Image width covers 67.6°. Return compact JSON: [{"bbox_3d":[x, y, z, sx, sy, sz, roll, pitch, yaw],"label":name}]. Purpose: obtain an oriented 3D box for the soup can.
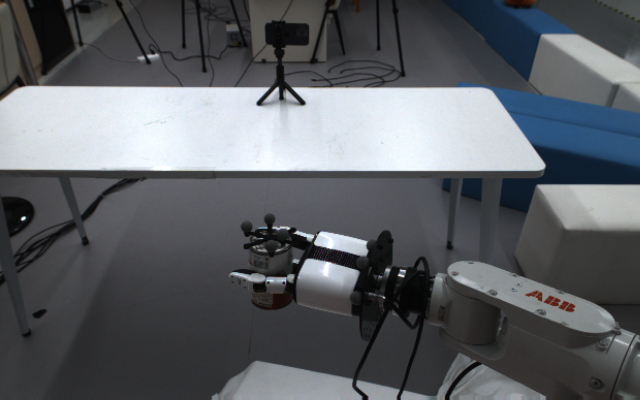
[{"bbox_3d":[-0.073,0.108,0.734,0.067,0.101,0.067,1,25,0],"label":"soup can"}]
